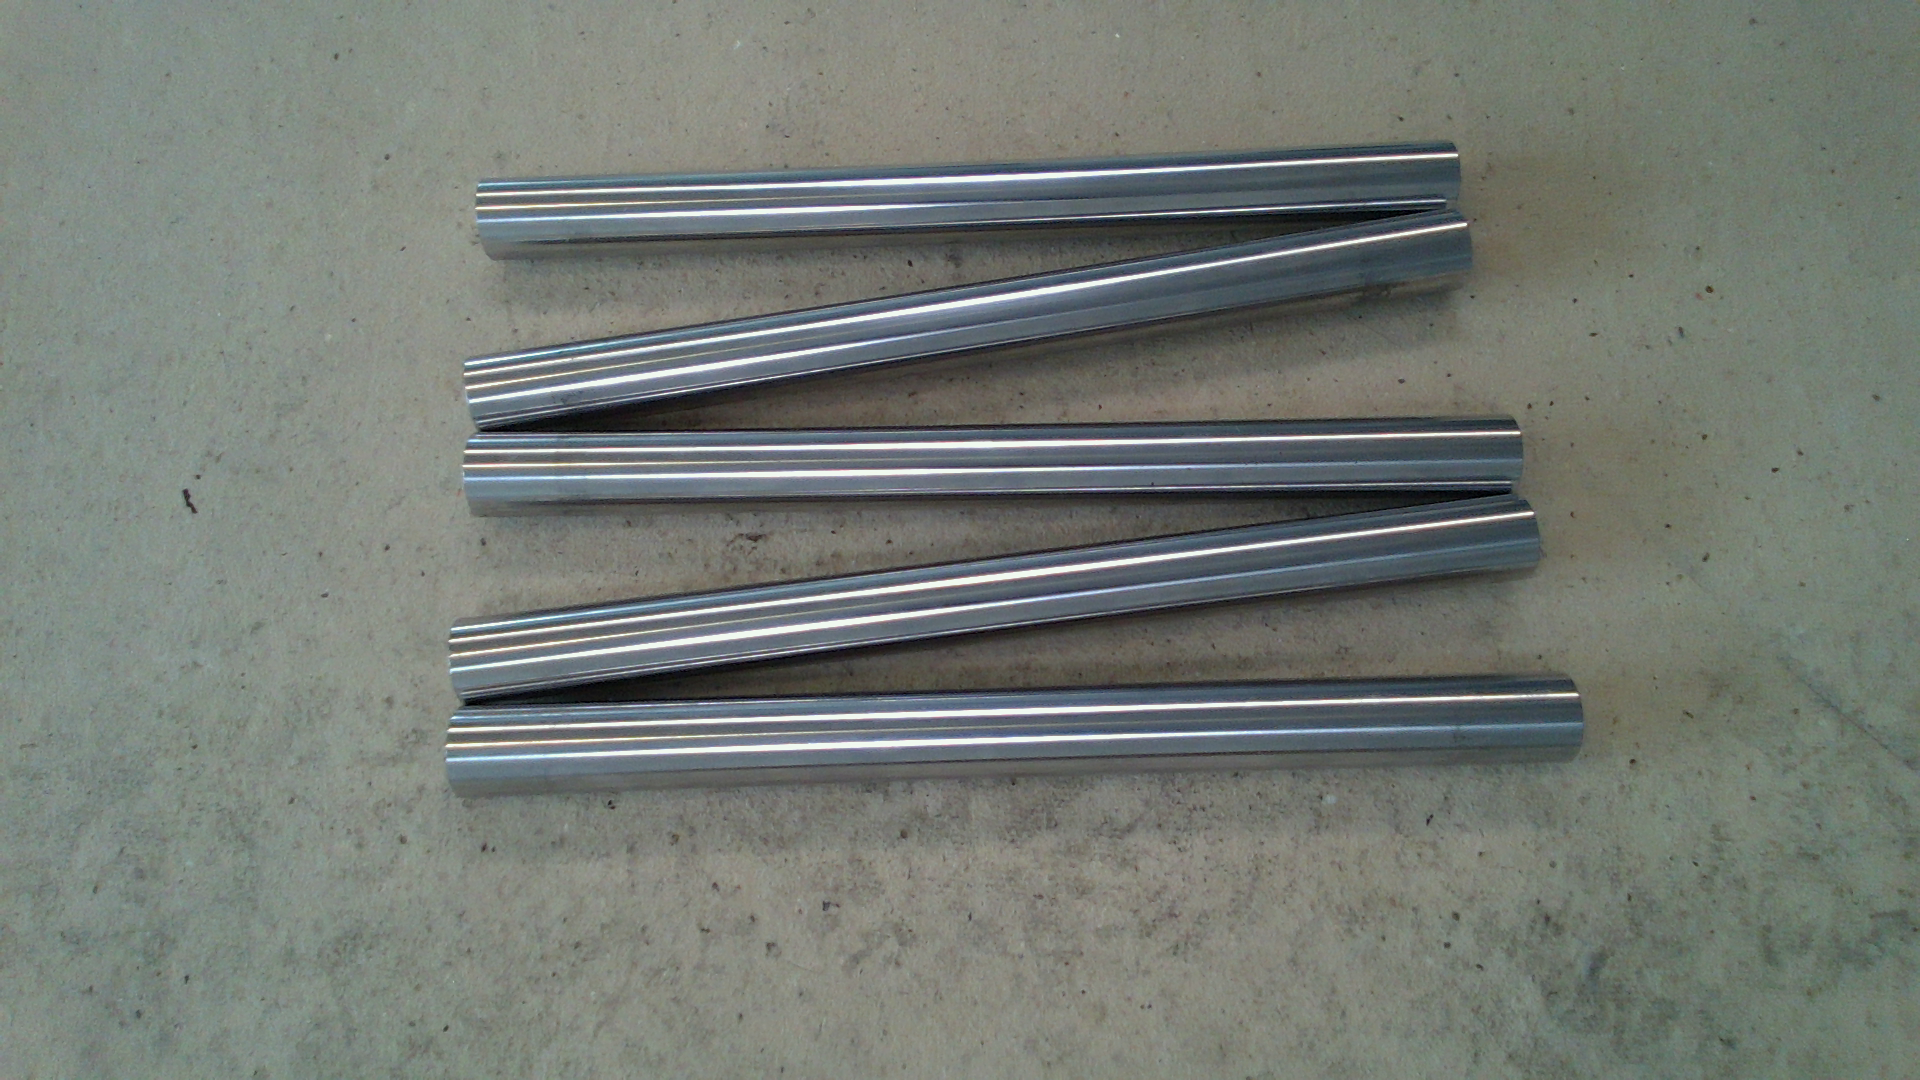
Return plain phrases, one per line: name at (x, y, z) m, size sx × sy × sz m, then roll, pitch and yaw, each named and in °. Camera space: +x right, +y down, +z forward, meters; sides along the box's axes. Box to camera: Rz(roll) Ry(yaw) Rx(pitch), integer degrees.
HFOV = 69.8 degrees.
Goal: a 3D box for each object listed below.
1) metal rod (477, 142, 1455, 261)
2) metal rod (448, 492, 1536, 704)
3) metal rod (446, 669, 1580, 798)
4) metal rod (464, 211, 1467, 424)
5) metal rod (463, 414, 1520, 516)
metal rod at (0.003, -0.107, 0.434) m, size 0.300 × 0.025 × 0.025 m, roll -3°, pitch 70°, yaw -1°
metal rod at (0.011, 0.016, 0.389) m, size 0.300 × 0.025 × 0.025 m, roll -7°, pitch 70°, yaw -3°
metal rod at (0.015, 0.053, 0.376) m, size 0.300 × 0.025 × 0.025 m, roll -2°, pitch 70°, yaw -1°
metal rod at (0.004, -0.066, 0.419) m, size 0.300 × 0.025 × 0.025 m, roll -9°, pitch 70°, yaw -3°
metal rod at (0.010, -0.022, 0.403) m, size 0.300 × 0.025 × 0.025 m, roll -1°, pitch 70°, yaw -1°
